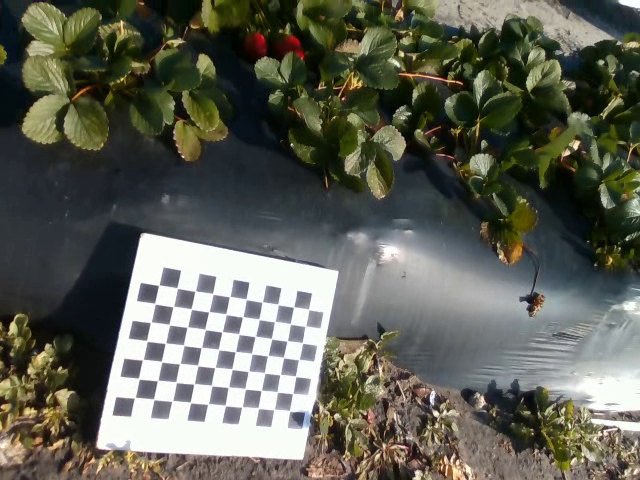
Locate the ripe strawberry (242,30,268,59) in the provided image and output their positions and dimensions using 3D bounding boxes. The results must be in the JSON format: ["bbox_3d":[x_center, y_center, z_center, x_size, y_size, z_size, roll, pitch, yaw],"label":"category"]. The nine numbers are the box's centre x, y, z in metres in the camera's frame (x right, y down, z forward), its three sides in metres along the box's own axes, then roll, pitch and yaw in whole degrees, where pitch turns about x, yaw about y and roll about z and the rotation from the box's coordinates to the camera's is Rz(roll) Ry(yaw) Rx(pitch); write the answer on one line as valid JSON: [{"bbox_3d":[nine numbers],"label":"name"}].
[{"bbox_3d":[-0.098,-0.288,0.879,0.043,0.052,0.037,-34,-33,-12],"label":"ripe strawberry"}]

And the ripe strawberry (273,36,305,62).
[{"bbox_3d":[-0.049,-0.288,0.906,0.052,0.058,0.046,-26,-37,-14],"label":"ripe strawberry"}]
